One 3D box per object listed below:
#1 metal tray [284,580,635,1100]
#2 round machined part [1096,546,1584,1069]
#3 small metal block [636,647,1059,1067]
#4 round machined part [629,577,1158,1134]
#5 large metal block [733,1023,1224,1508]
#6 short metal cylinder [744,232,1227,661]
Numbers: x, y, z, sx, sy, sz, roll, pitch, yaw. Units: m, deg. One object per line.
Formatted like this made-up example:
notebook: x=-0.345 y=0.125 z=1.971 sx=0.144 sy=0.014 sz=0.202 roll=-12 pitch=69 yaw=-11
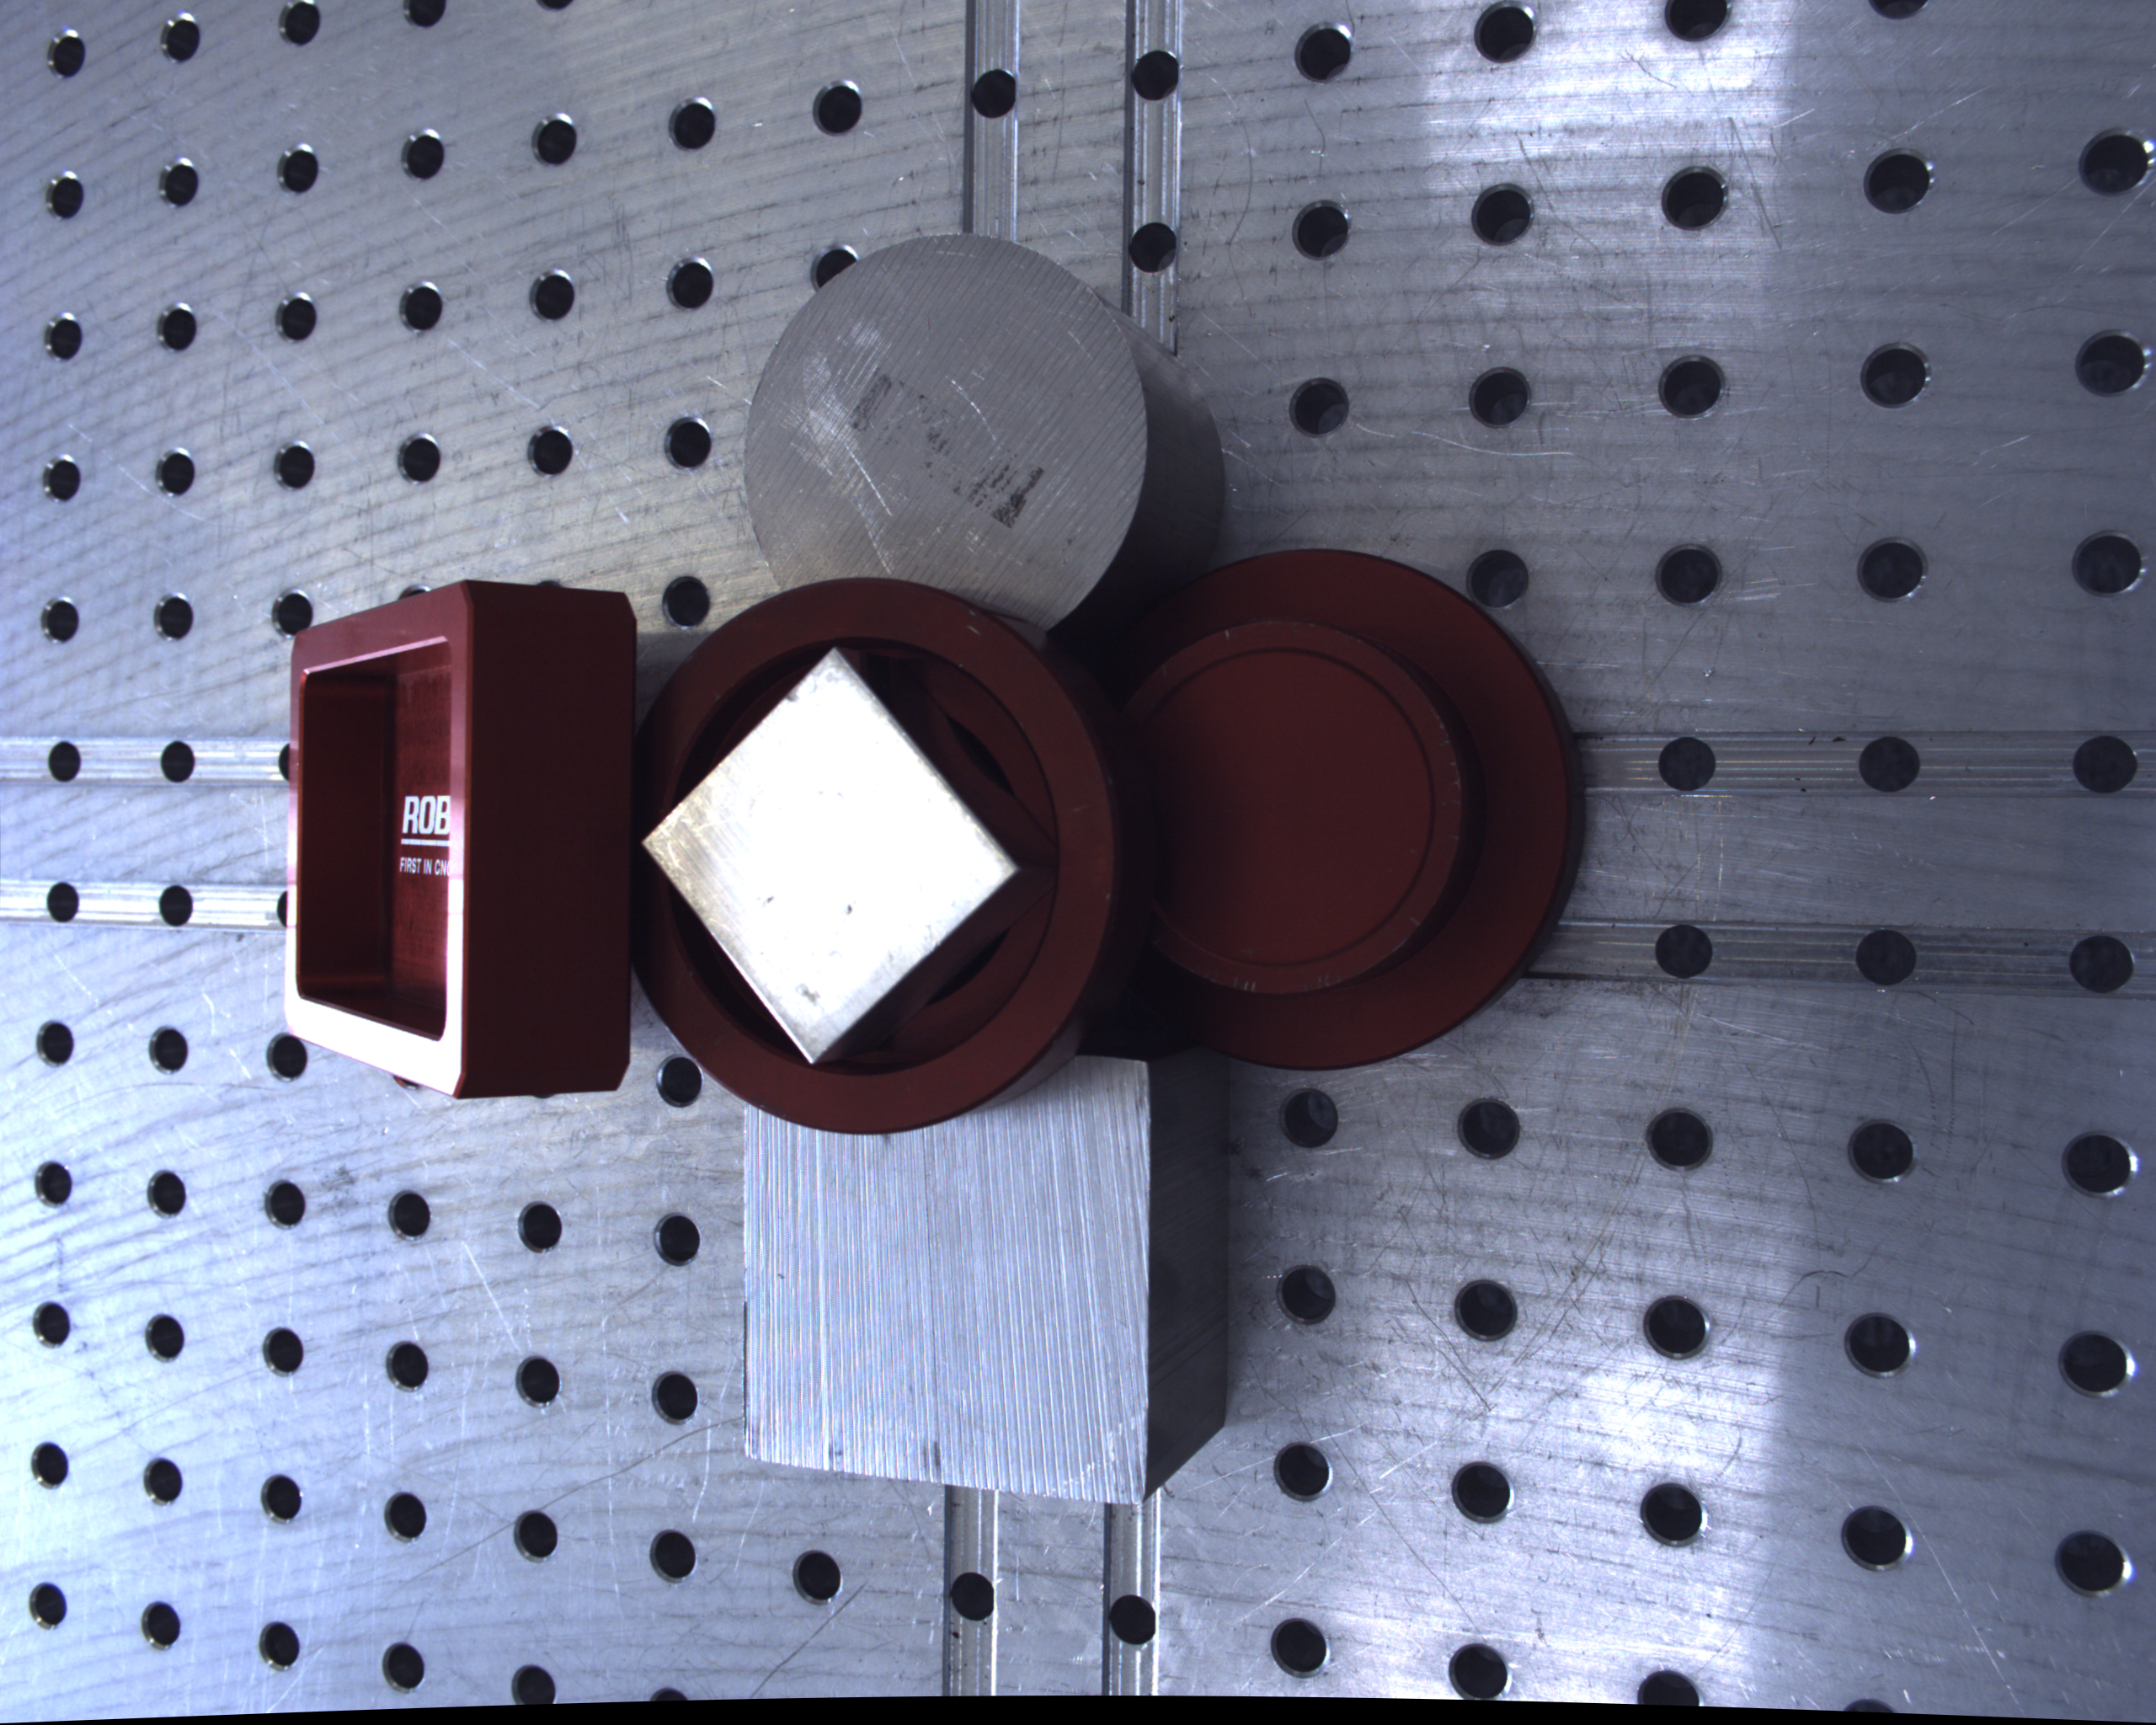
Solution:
metal tray: x=-0.127 y=-0.005 z=0.416 sx=0.130 sy=0.030 sz=0.089 roll=2 pitch=91 yaw=57
round machined part: x=0.042 y=-0.010 z=0.387 sx=0.098 sy=0.042 sz=0.097 roll=0 pitch=90 yaw=20
small metal block: x=-0.039 y=-0.001 z=0.360 sx=0.050 sy=0.025 sz=0.050 roll=-43 pitch=77 yaw=15
round machined part: x=-0.032 y=-0.001 z=0.384 sx=0.098 sy=0.042 sz=0.097 roll=0 pitch=90 yaw=20
large metal block: x=-0.018 y=0.073 z=0.402 sx=0.080 sy=0.050 sz=0.080 roll=1 pitch=90 yaw=20
short metal cylinder: x=-0.017 y=-0.075 z=0.405 sx=0.080 sy=0.050 sz=0.080 roll=0 pitch=90 yaw=20
